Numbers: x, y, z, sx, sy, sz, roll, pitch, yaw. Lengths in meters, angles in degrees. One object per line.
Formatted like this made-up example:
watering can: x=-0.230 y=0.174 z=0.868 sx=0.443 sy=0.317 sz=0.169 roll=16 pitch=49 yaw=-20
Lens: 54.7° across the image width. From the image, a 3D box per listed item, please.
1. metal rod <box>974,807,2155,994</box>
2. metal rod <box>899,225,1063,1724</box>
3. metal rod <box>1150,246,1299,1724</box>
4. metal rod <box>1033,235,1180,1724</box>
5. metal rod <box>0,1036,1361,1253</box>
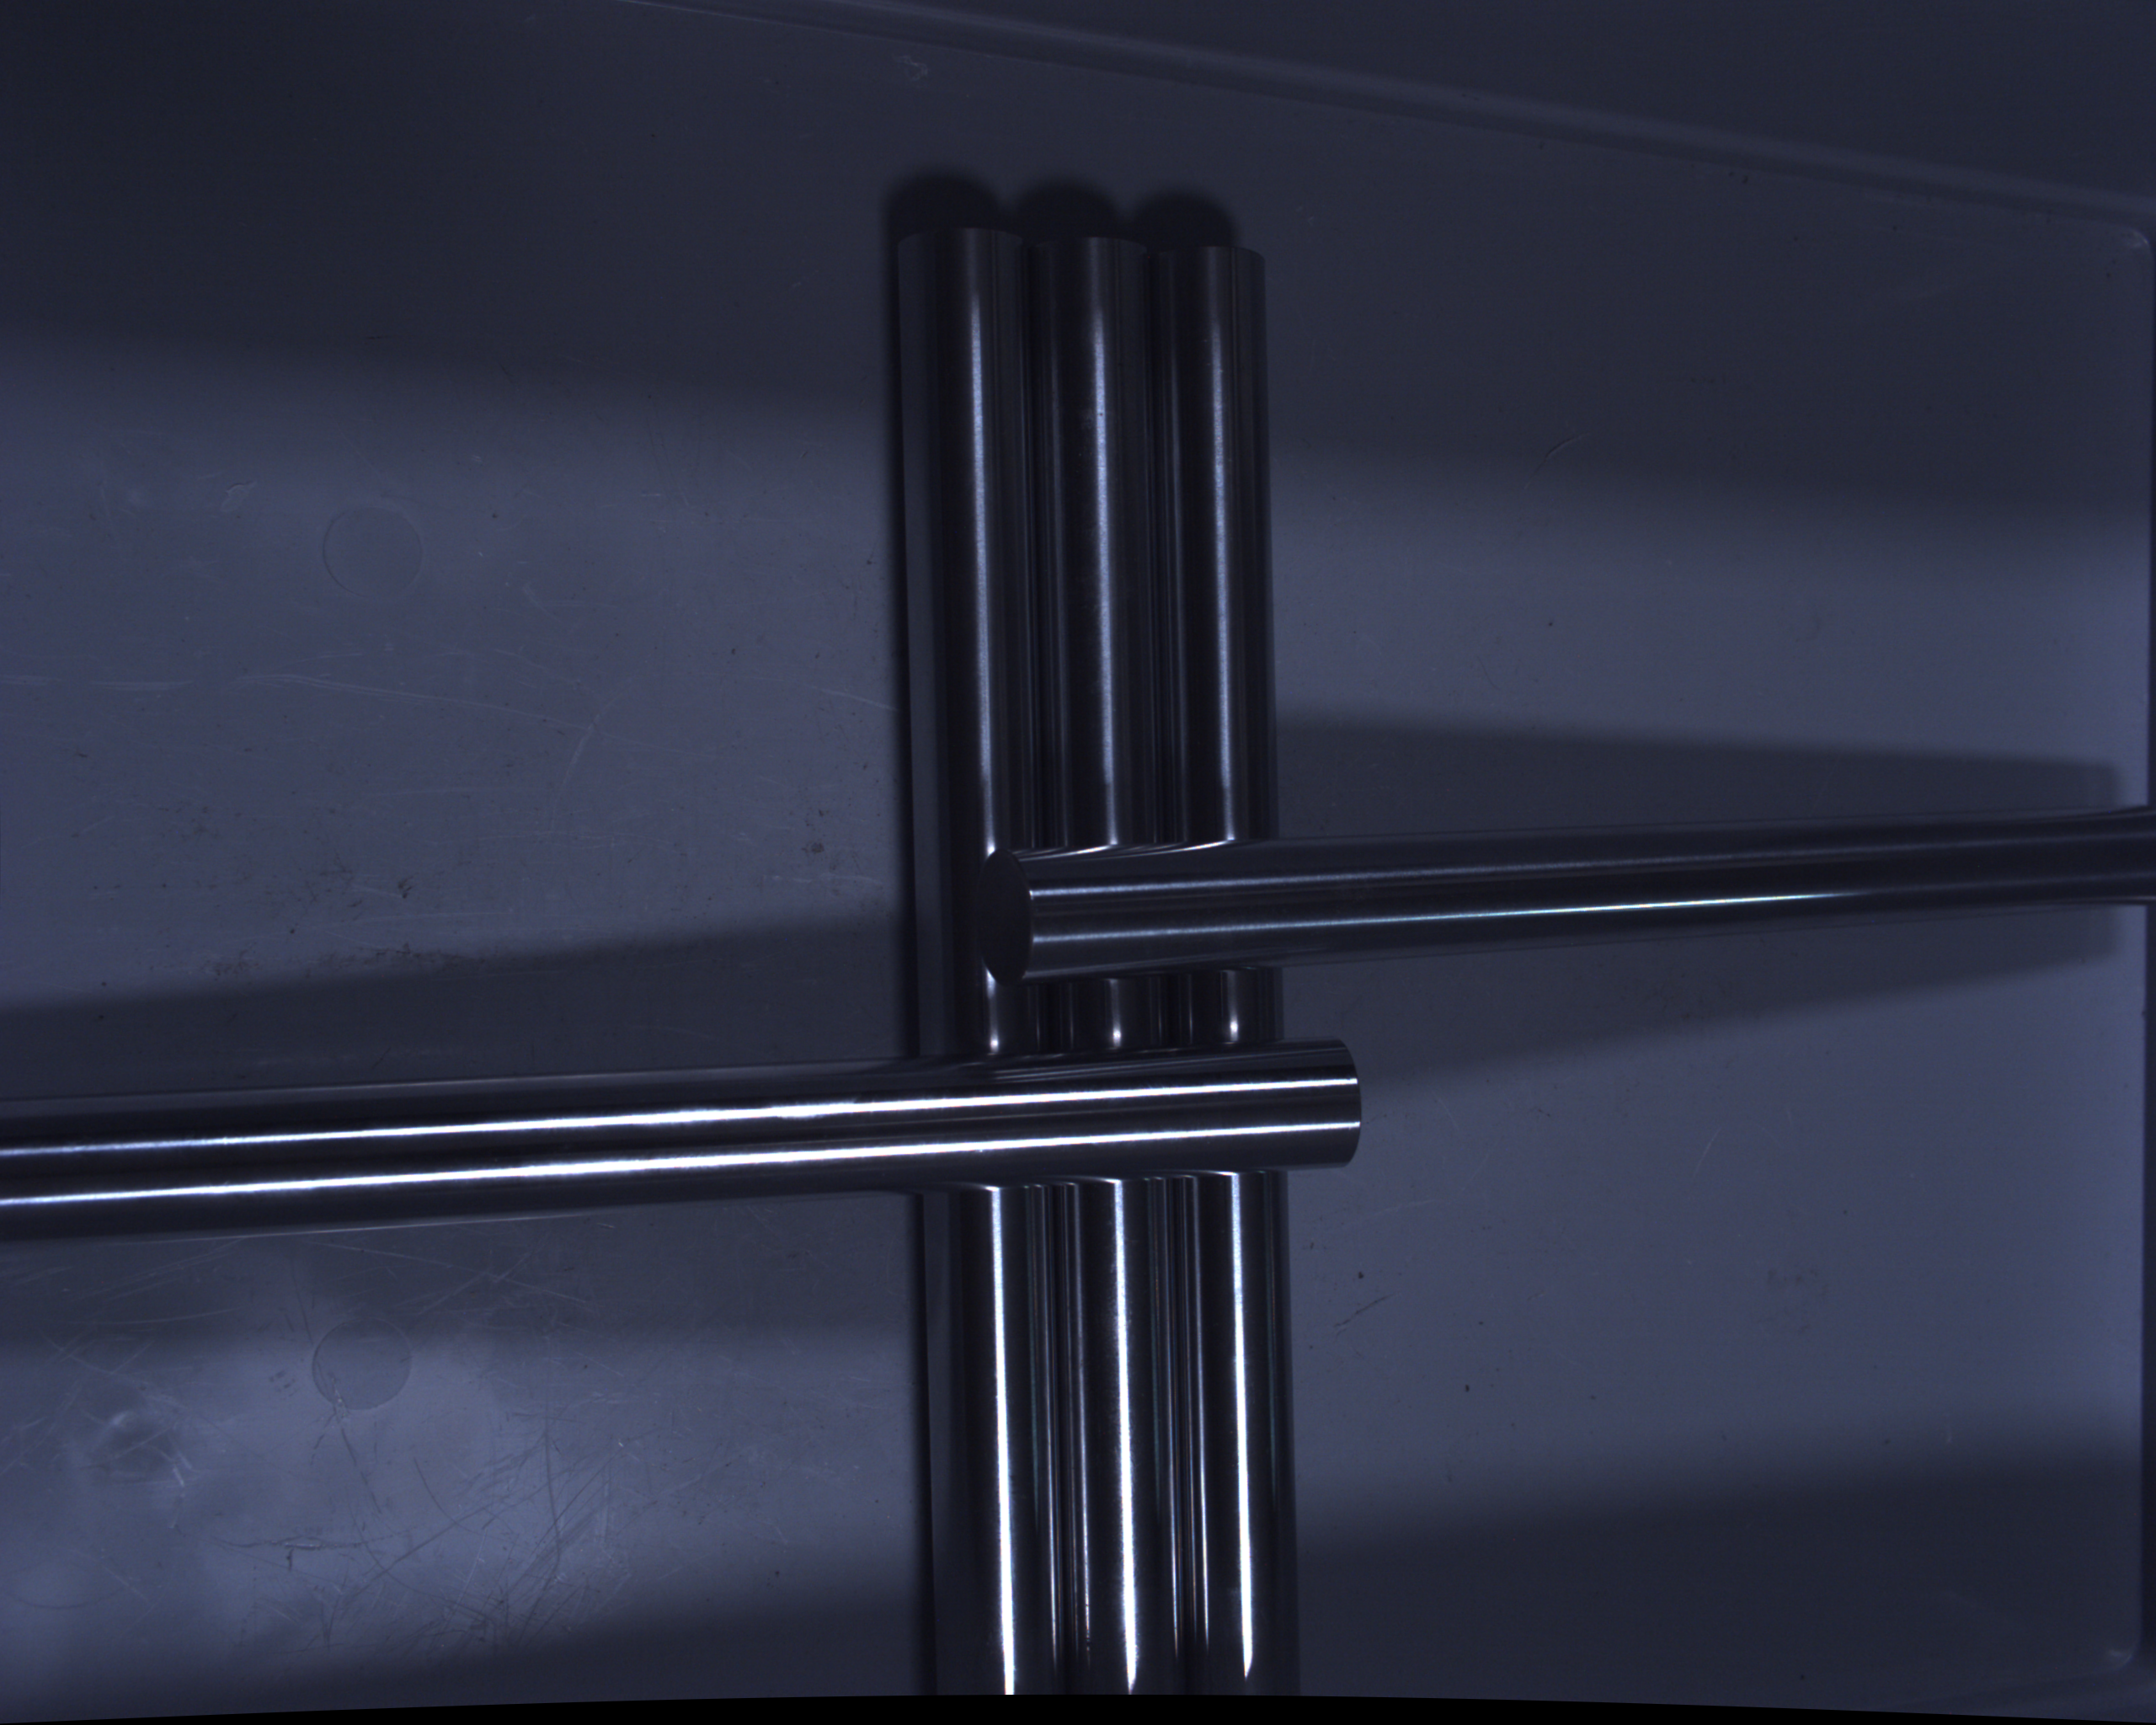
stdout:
metal rod: x=0.122 y=0.005 z=0.437 sx=0.303 sy=0.025 sz=0.025 roll=-2 pitch=91 yaw=-27
metal rod: x=-0.019 y=0.030 z=0.403 sx=0.025 sy=0.025 sz=0.298 roll=-2 pitch=91 yaw=-20
metal rod: x=0.029 y=0.028 z=0.421 sx=0.025 sy=0.025 sz=0.298 roll=-2 pitch=91 yaw=-20
metal rod: x=0.004 y=0.029 z=0.412 sx=0.025 sy=0.025 sz=0.298 roll=-2 pitch=91 yaw=-20
metal rod: x=-0.097 y=0.049 z=0.357 sx=0.302 sy=0.025 sz=0.025 roll=-1 pitch=91 yaw=-15
